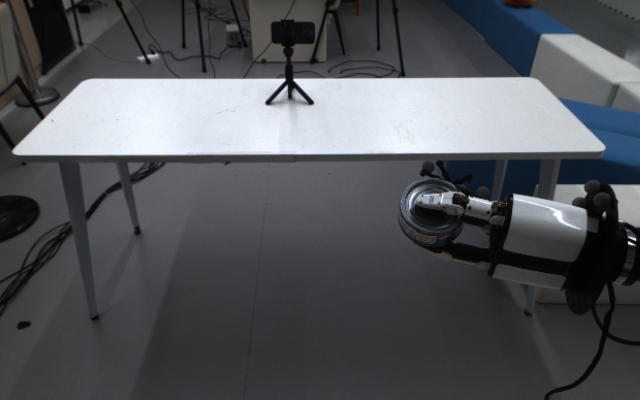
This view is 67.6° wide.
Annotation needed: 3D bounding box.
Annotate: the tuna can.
[{"bbox_3d":[0.147,0.013,0.623,0.085,0.034,0.085,-4,58,7],"label":"tuna can"}]
